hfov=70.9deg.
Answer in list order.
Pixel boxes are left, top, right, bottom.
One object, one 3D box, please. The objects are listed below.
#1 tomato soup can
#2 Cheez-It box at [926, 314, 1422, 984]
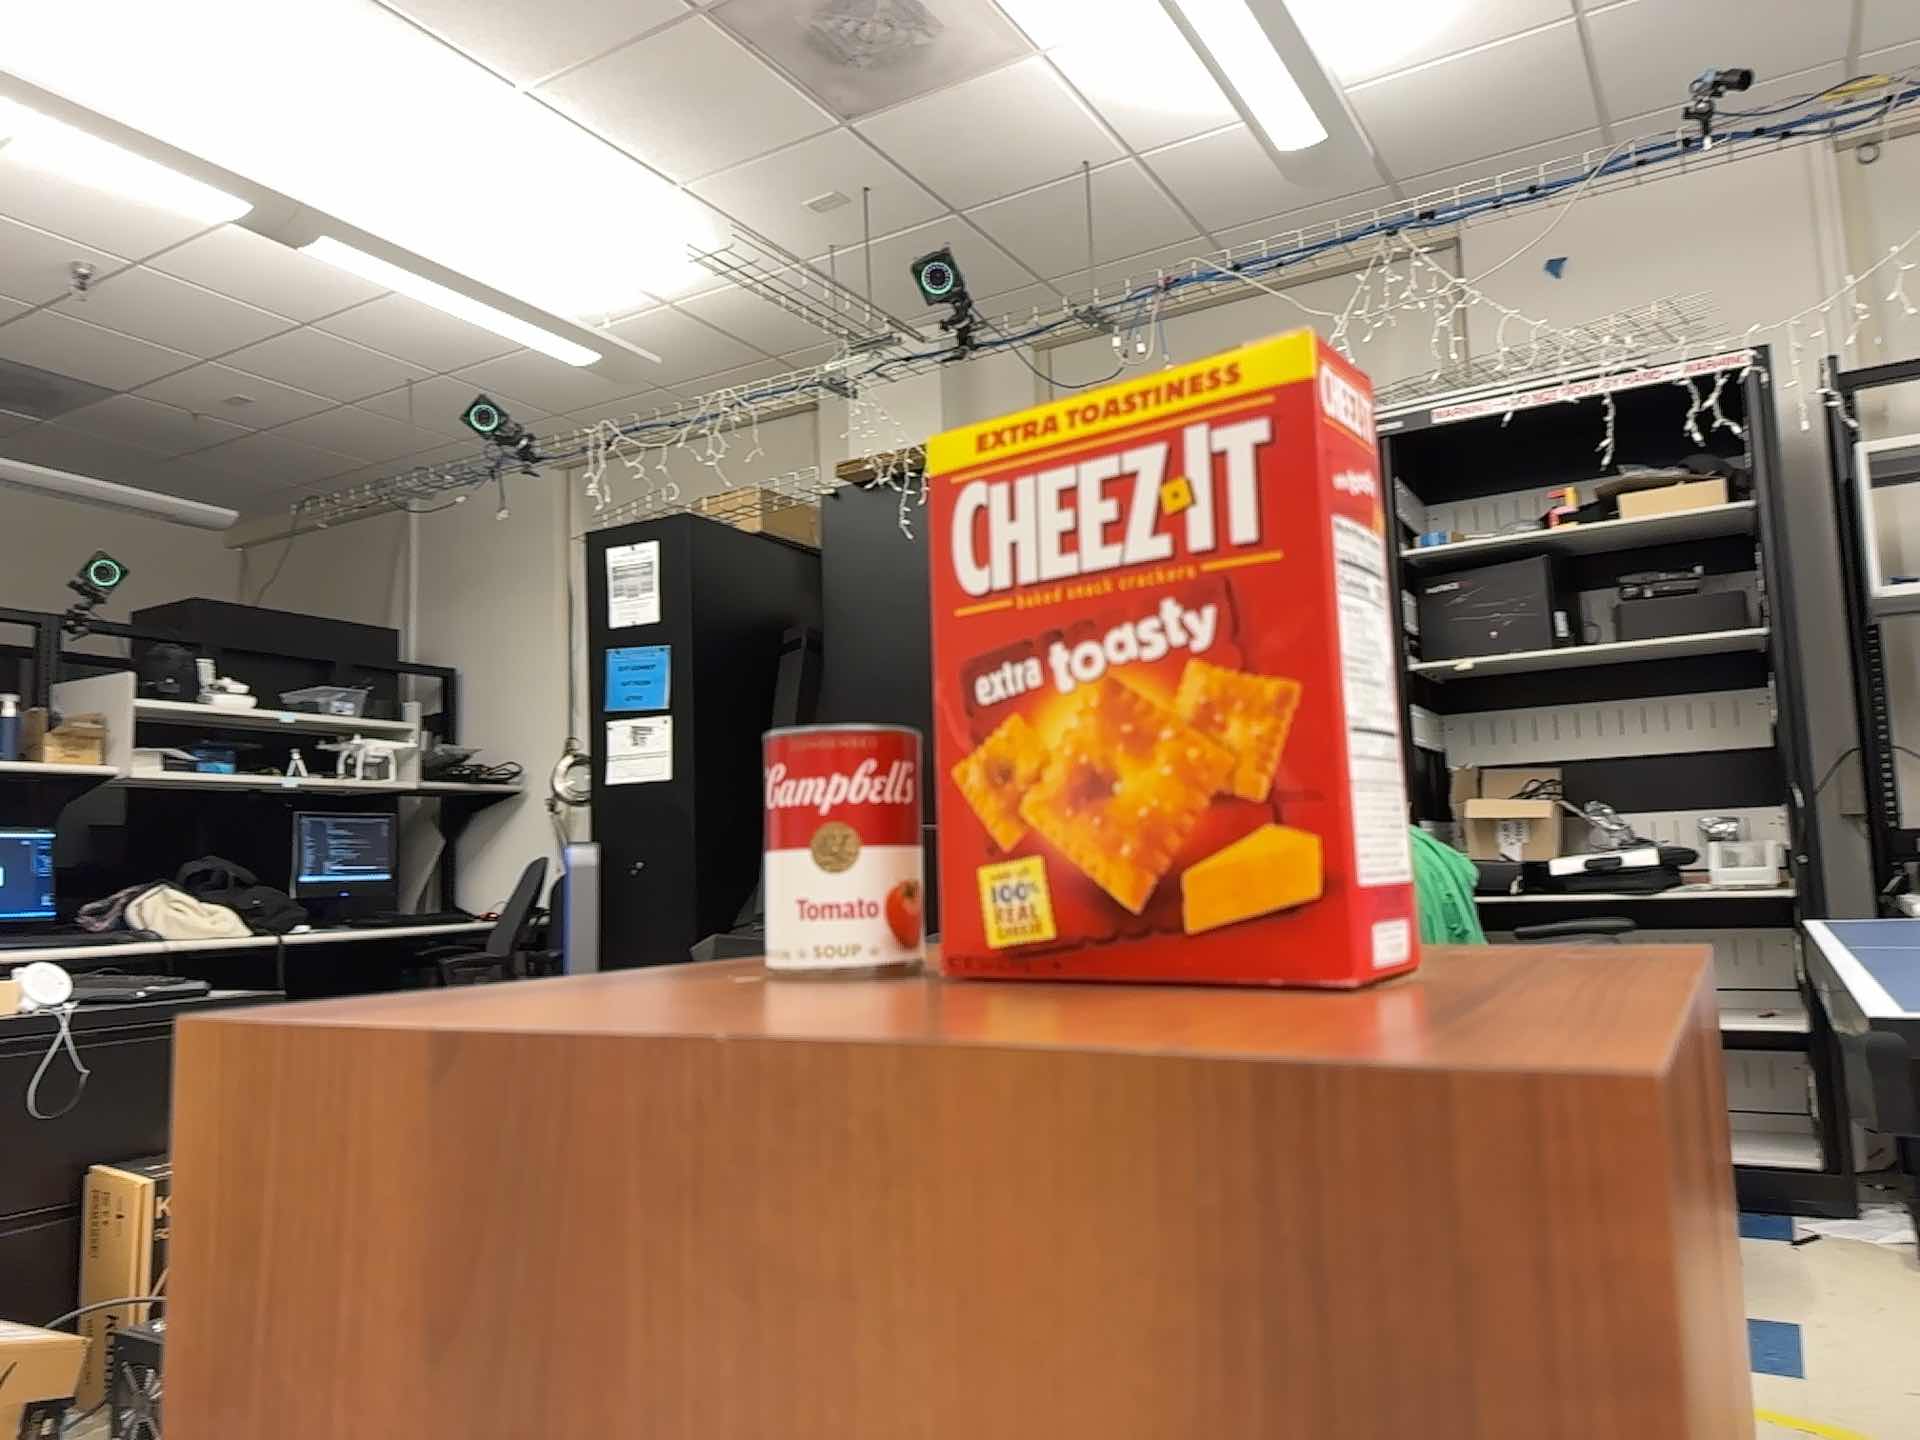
[{"bbox_3d":[-0.052,0.057,0.561,0.067,0.102,0.067,-1,-9,0],"label":"tomato soup can"},{"bbox_3d":[0.072,-0.016,0.500,0.159,0.214,0.062,-7,-11,34],"label":"Cheez-It box"}]
